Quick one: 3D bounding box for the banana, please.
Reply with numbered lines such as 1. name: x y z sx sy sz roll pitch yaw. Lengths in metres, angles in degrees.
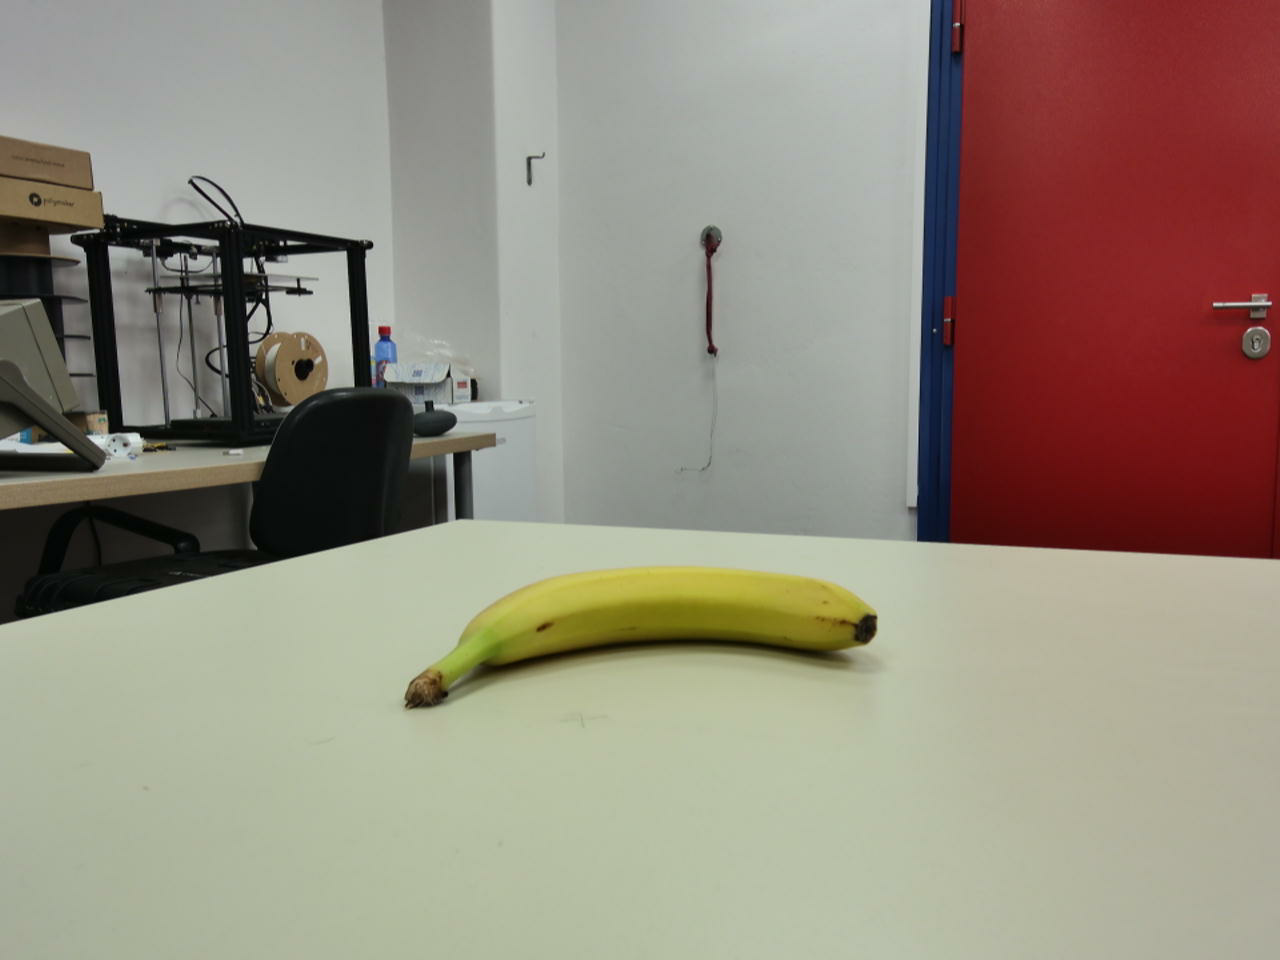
1. banana: -0.002 0.062 0.443 0.196 0.041 0.094 -1 4 -11
